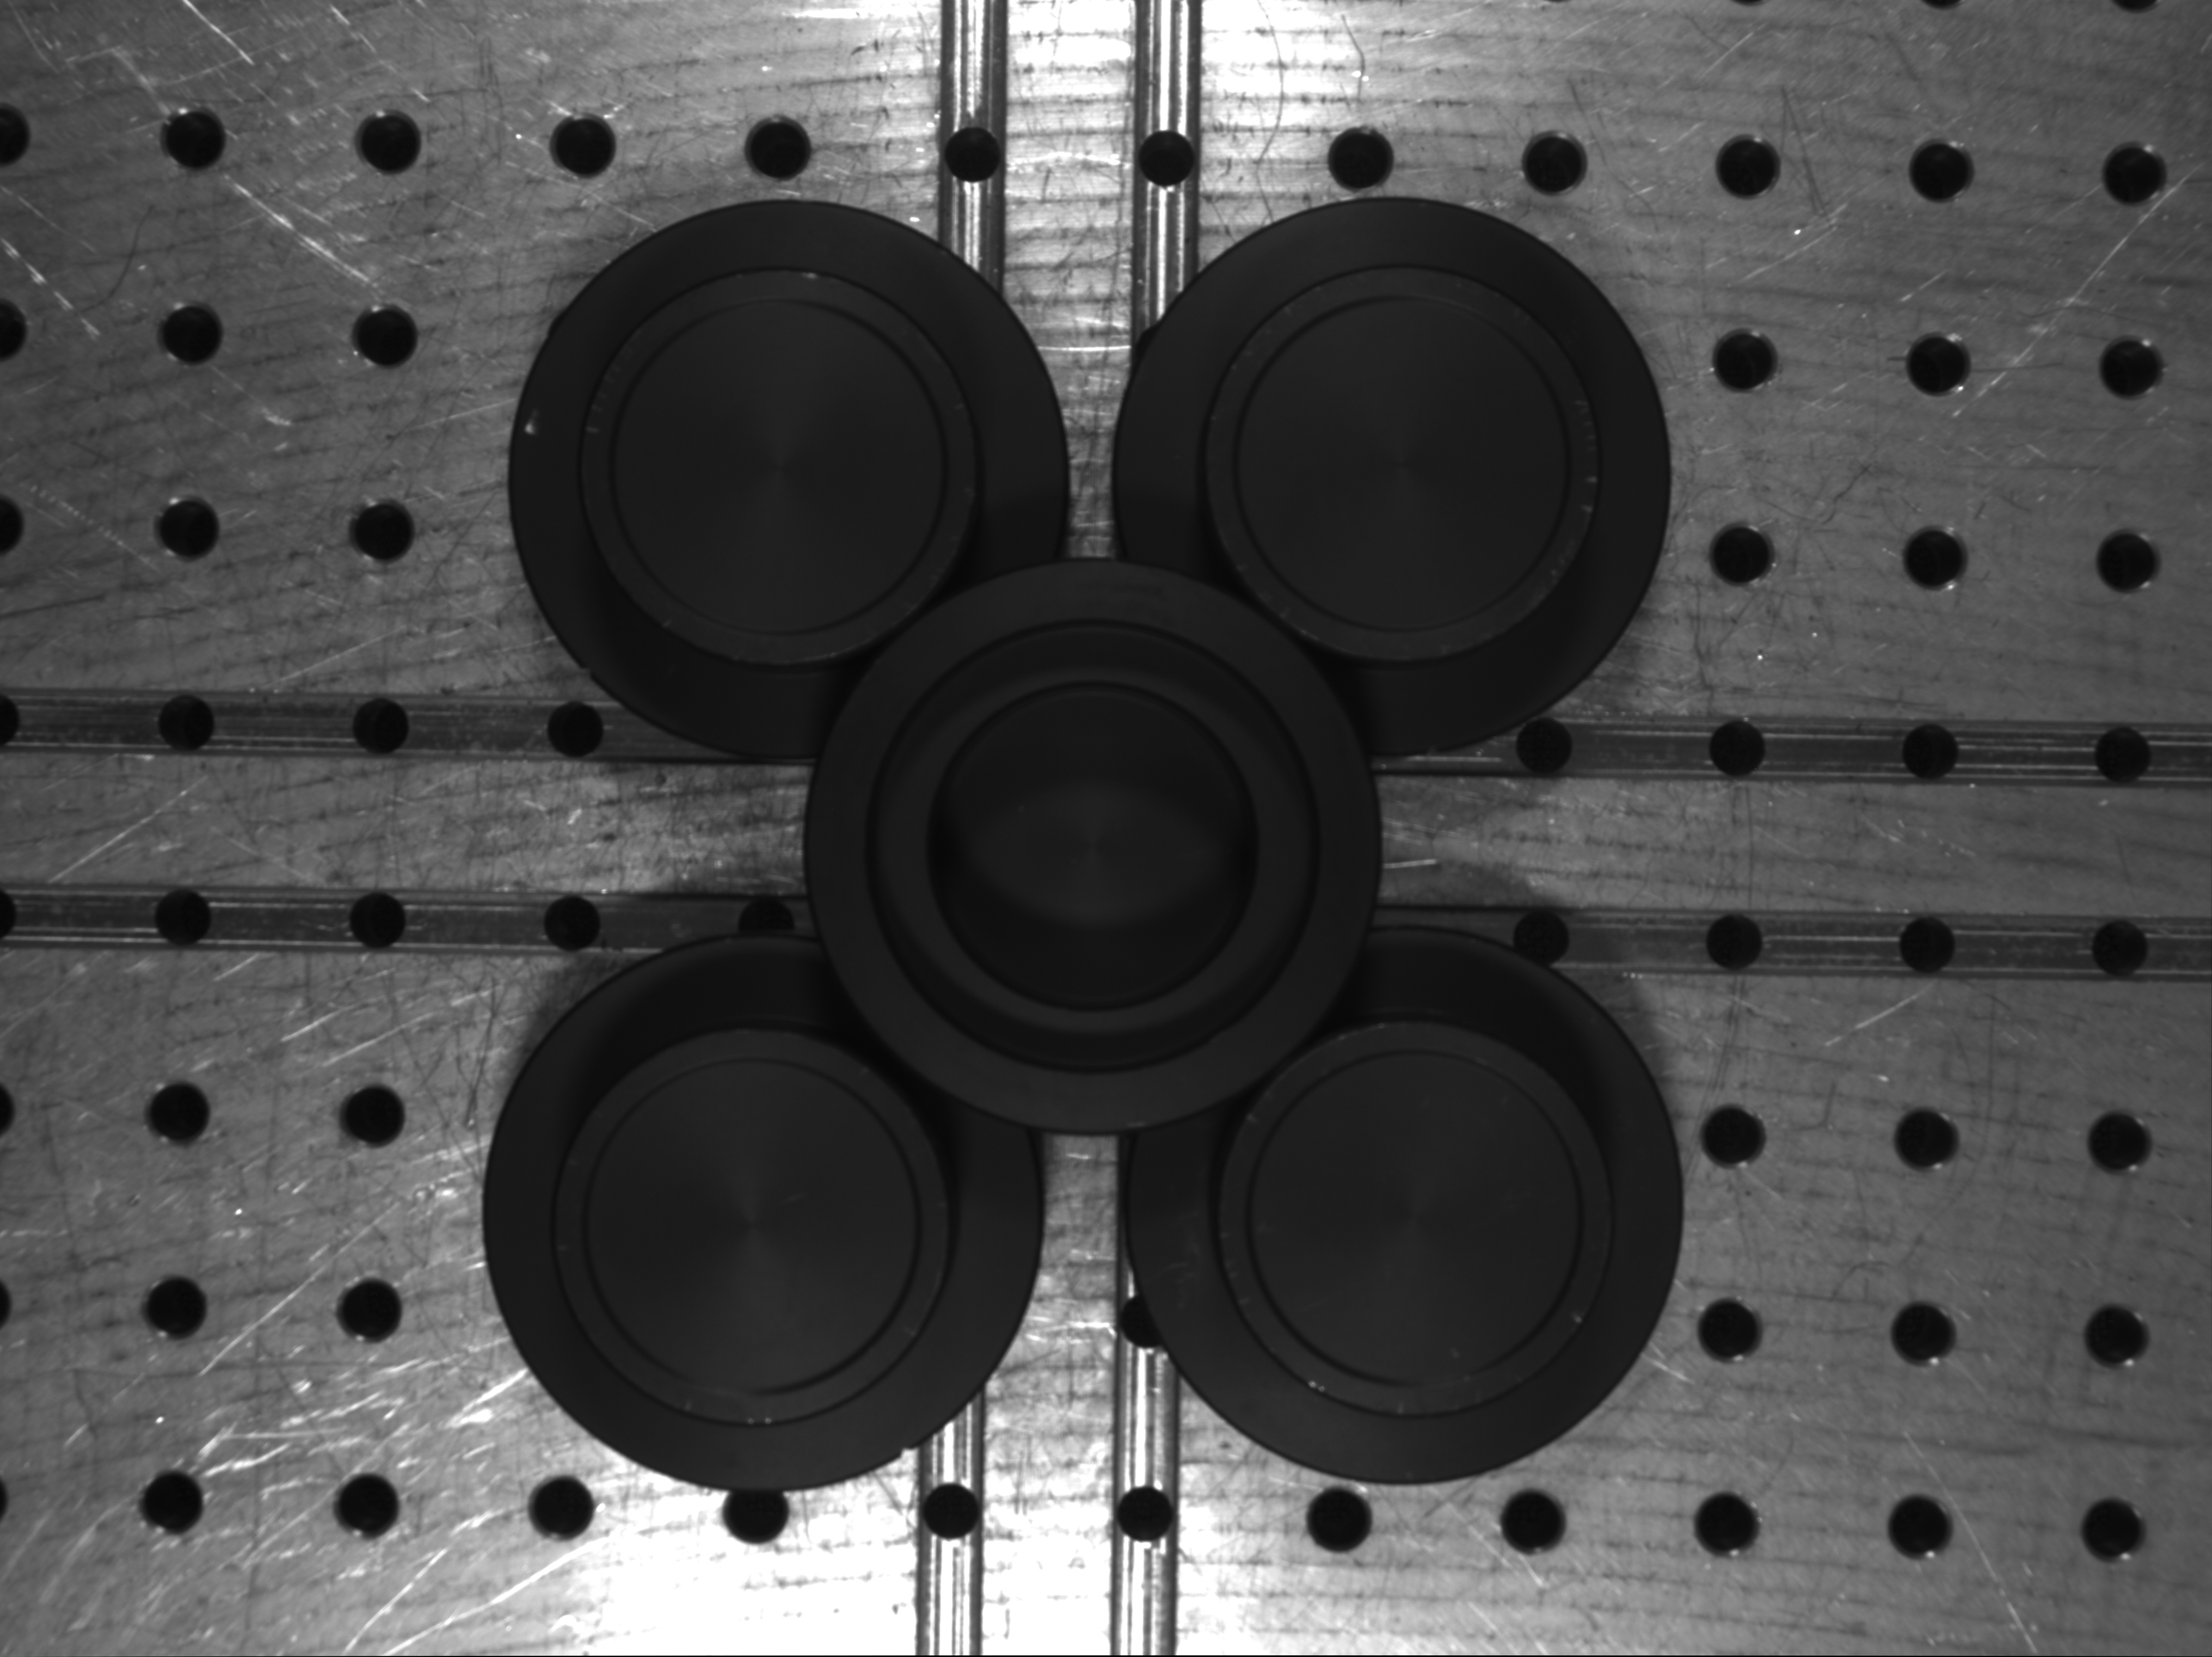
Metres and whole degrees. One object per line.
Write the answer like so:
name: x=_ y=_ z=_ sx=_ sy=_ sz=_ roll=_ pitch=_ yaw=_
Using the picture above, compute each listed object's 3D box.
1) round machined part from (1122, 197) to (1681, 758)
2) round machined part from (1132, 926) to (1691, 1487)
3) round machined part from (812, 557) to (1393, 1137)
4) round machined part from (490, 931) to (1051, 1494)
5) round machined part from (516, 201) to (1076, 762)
round machined part: x=0.052 y=-0.061 z=0.639 sx=0.098 sy=0.042 sz=0.098 roll=0 pitch=90 yaw=0
round machined part: x=0.053 y=0.066 z=0.639 sx=0.098 sy=0.042 sz=0.098 roll=0 pitch=90 yaw=0
round machined part: x=-0.001 y=0.003 z=0.637 sx=0.098 sy=0.042 sz=0.098 roll=0 pitch=90 yaw=0
round machined part: x=-0.059 y=0.067 z=0.639 sx=0.098 sy=0.042 sz=0.098 roll=0 pitch=90 yaw=0
round machined part: x=-0.054 y=-0.061 z=0.638 sx=0.098 sy=0.042 sz=0.098 roll=0 pitch=90 yaw=0
